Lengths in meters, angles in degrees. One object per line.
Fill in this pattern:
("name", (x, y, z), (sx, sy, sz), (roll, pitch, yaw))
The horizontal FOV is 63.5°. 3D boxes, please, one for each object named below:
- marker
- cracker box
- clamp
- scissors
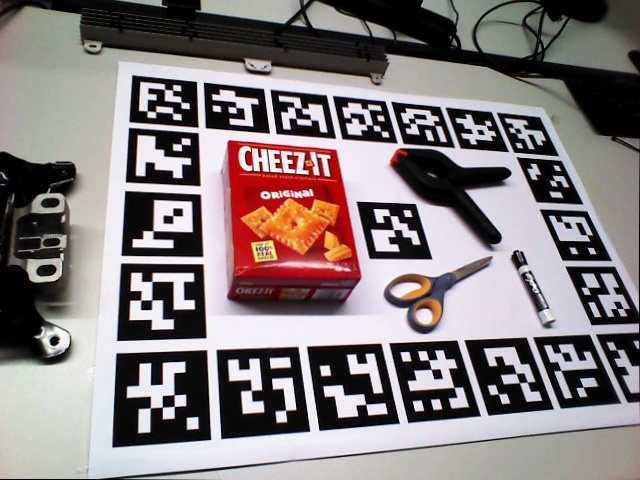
("marker", (0.328, 0.065, 0.775), (0.019, 0.020, 0.120), (-2, 58, -18))
("cracker box", (-0.037, -0.028, 0.695), (0.164, 0.072, 0.212), (2, 57, -16))
("clamp", (0.211, -0.096, 0.853), (0.203, 0.037, 0.164), (26, 52, 1))
("scissors", (0.191, 0.058, 0.738), (0.201, 0.016, 0.087), (-26, 67, -32))
